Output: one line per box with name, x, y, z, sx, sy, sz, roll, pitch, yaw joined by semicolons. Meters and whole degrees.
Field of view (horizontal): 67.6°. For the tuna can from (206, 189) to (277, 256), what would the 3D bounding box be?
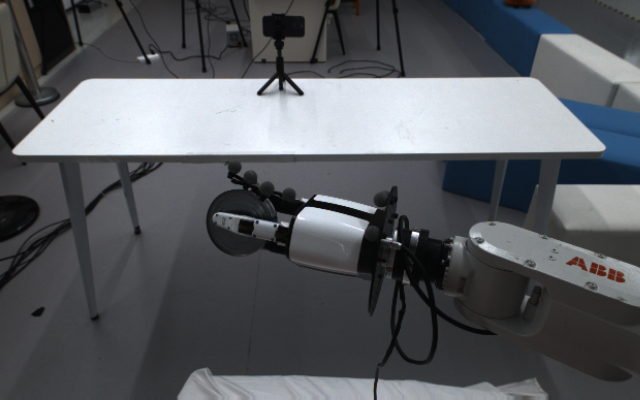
tuna can;-0.097;0.028;0.620;0.085;0.085;0.034;10;4;11
